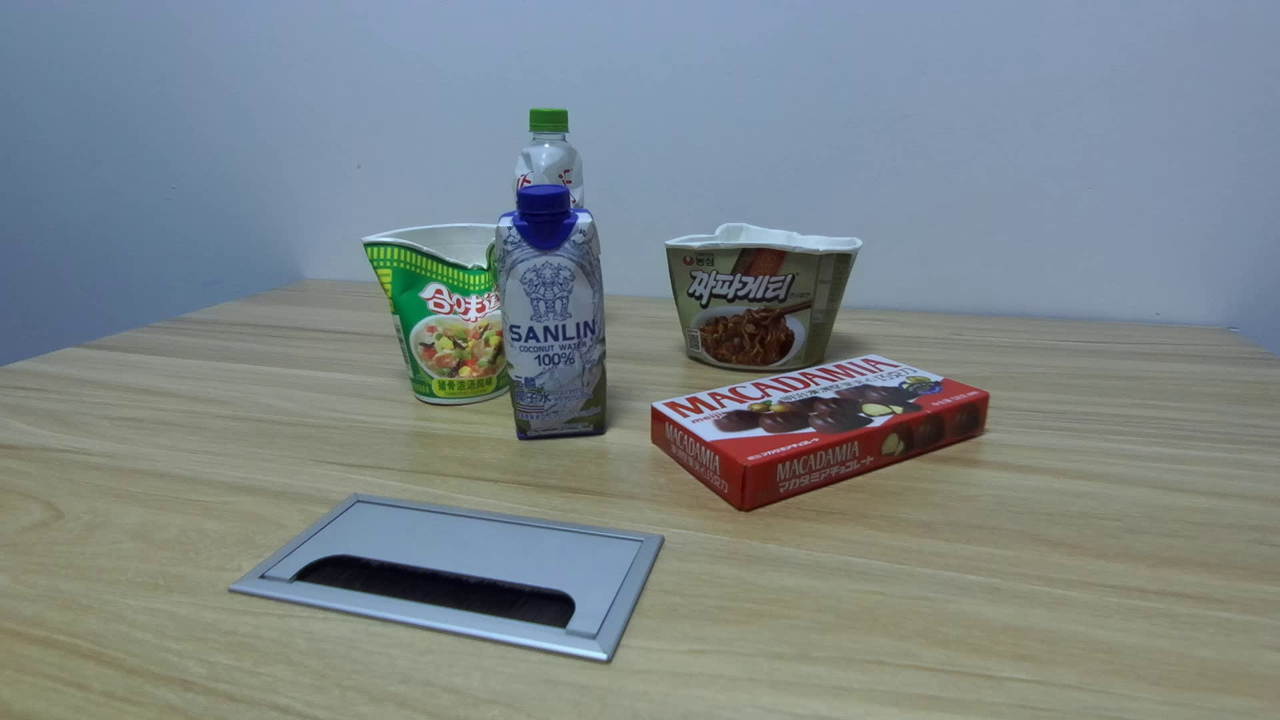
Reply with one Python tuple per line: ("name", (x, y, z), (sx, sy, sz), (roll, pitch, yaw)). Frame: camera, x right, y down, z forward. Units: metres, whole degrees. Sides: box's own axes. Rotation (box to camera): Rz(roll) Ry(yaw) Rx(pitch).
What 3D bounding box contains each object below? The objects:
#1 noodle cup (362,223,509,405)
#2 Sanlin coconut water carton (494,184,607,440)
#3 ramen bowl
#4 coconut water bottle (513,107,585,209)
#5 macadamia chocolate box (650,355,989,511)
("noodle cup", (-0.125, -0.034, 0.486), (0.082, 0.122, 0.075), (-2, 10, 24))
("Sanlin coconut water carton", (-0.051, -0.029, 0.417), (0.061, 0.144, 0.060), (-4, 18, -6))
("ramen bowl", (0.100, -0.051, 0.546), (0.133, 0.097, 0.114), (10, 21, 29))
("coconut water bottle", (-0.074, -0.110, 0.588), (0.067, 0.187, 0.067), (0, 16, 0))
("macadamia chocolate box", (0.103, 0.034, 0.407), (0.178, 0.027, 0.095), (-10, 20, -27))
